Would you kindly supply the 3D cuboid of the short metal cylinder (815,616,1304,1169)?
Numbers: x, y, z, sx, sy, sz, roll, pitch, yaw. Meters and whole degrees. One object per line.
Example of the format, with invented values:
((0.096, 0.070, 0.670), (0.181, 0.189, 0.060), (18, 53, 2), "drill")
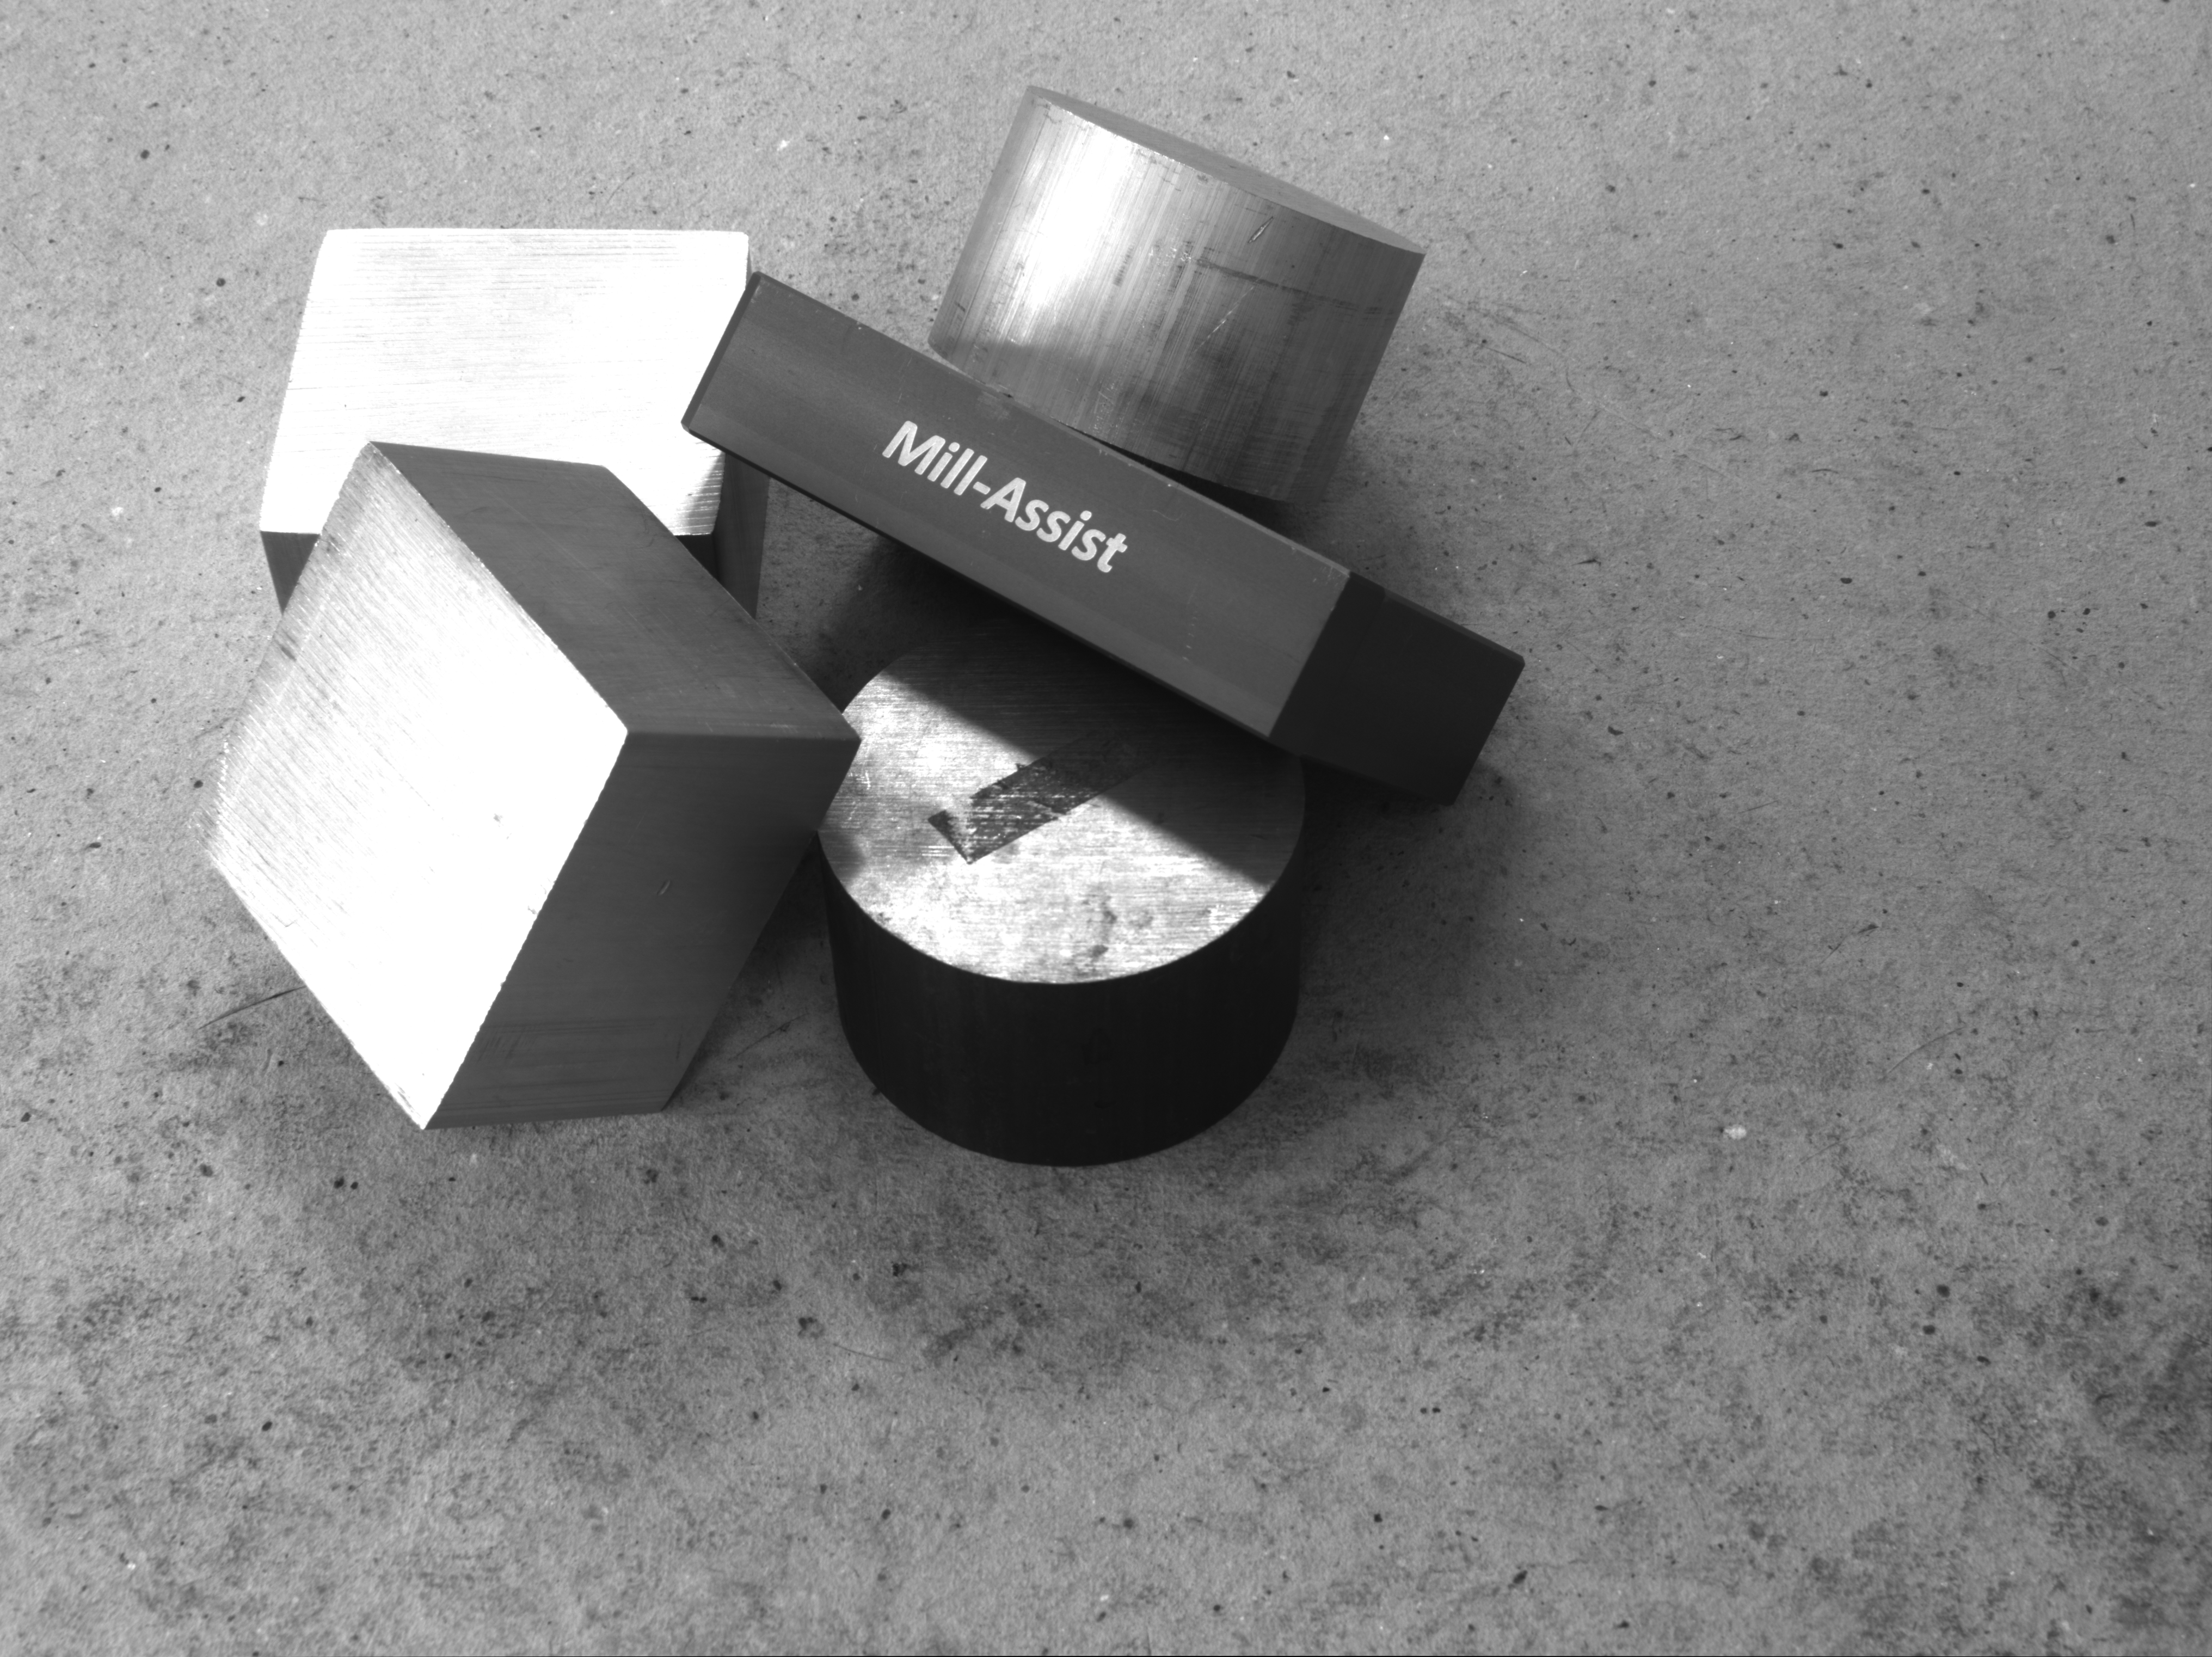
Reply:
((-0.008, 0.010, 0.619), (0.080, 0.050, 0.080), (0, 50, 0), "short metal cylinder")

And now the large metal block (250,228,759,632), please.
((-0.107, -0.065, 0.679), (0.080, 0.050, 0.080), (1, 50, 1), "large metal block")

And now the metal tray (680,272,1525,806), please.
((0.001, -0.050, 0.644), (0.130, 0.090, 0.030), (29, 95, 22), "metal tray")

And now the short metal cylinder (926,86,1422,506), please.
((0.012, -0.099, 0.685), (0.080, 0.050, 0.080), (22, 14, -5), "short metal cylinder")

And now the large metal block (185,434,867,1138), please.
((-0.097, -0.007, 0.604), (0.050, 0.080, 0.080), (0, 38, -49), "large metal block")
